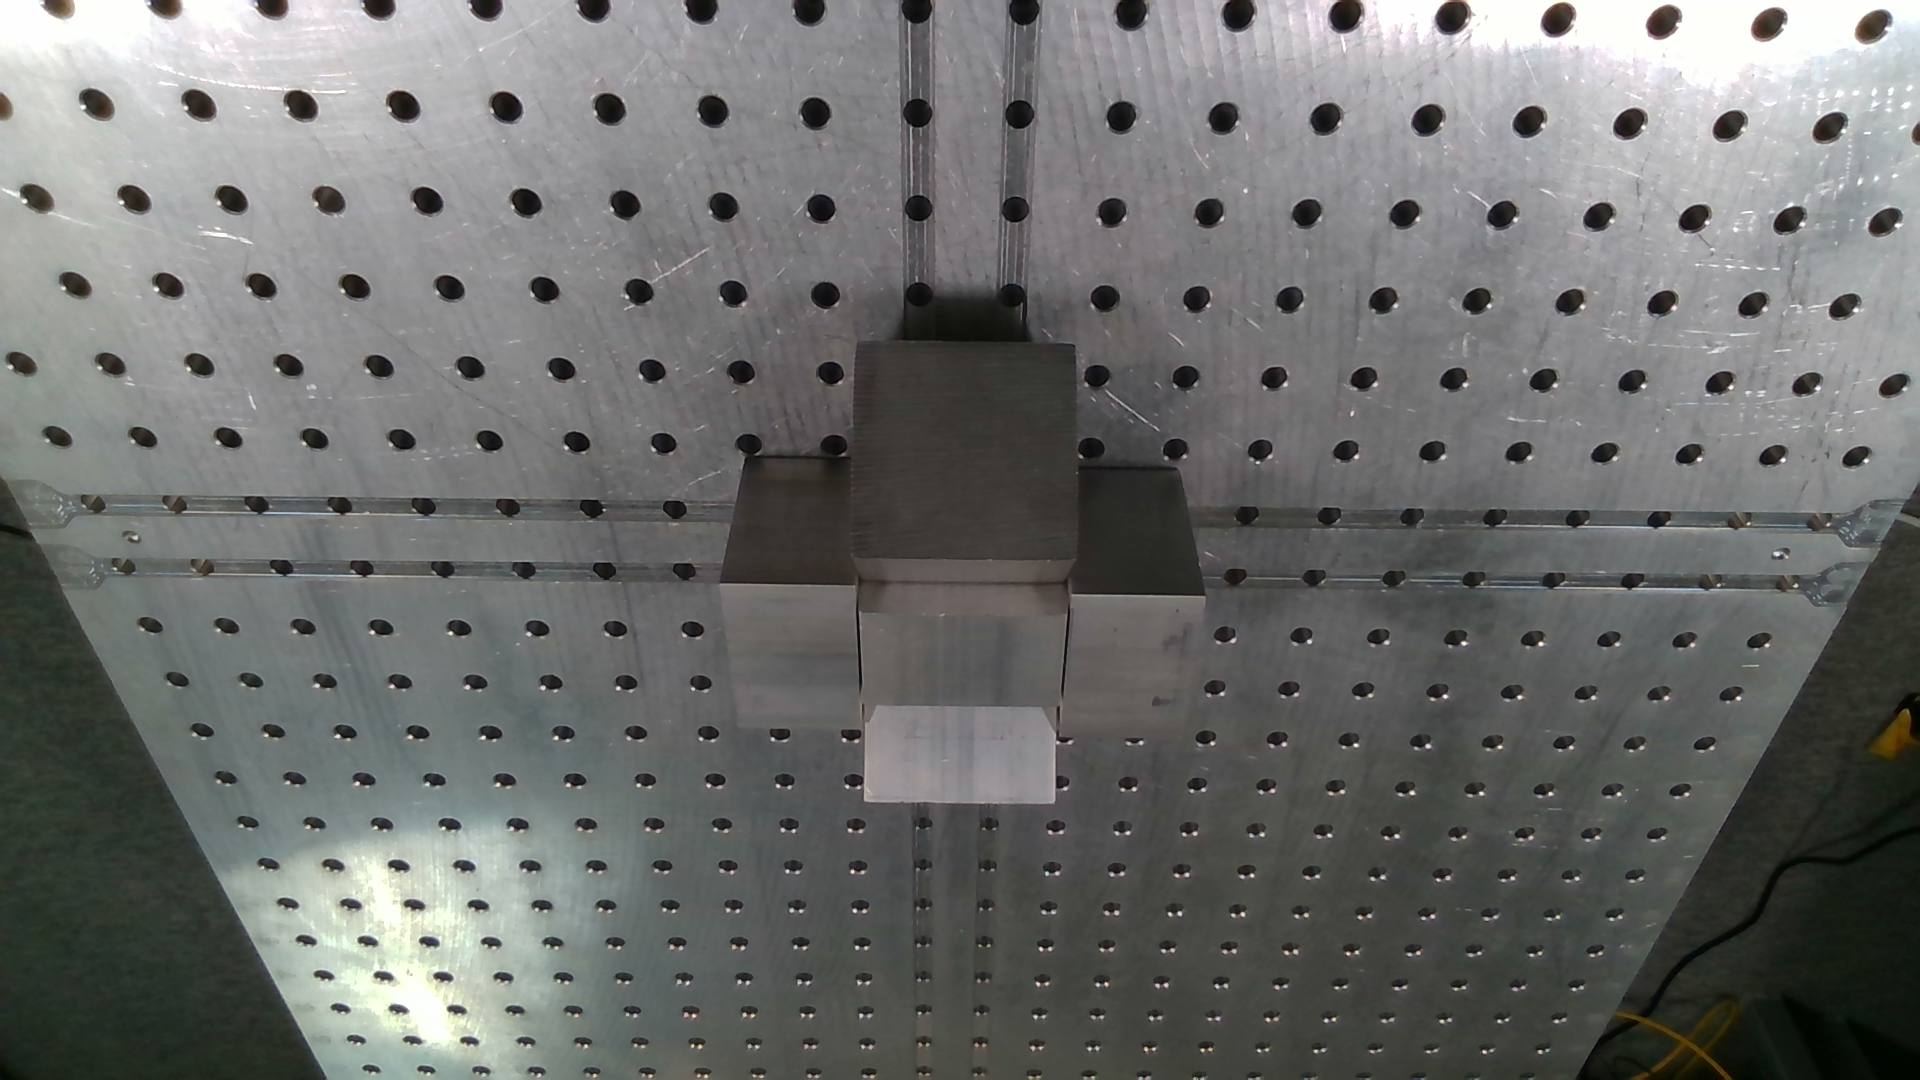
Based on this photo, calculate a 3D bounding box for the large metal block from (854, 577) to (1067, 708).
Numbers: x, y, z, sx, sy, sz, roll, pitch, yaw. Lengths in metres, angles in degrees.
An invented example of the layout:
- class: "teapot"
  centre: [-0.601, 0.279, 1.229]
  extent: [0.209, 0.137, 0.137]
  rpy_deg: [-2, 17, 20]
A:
- class: "large metal block"
  centre: [0.000, 0.022, 0.563]
  extent: [0.080, 0.080, 0.050]
  rpy_deg: [1, 130, -1]

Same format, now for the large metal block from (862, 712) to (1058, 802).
- class: "large metal block"
  centre: [-0.001, 0.081, 0.603]
  extent: [0.080, 0.080, 0.050]
  rpy_deg: [0, 92, -1]

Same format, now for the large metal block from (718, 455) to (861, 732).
- class: "large metal block"
  centre: [-0.065, 0.021, 0.563]
  extent: [0.050, 0.080, 0.080]
  rpy_deg: [1, 130, -1]

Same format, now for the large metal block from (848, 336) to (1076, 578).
- class: "large metal block"
  centre: [0.001, -0.029, 0.514]
  extent: [0.080, 0.080, 0.050]
  rpy_deg: [1, 169, 0]

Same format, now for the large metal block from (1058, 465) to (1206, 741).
- class: "large metal block"
  centre: [0.066, 0.026, 0.566]
  extent: [0.050, 0.080, 0.080]
  rpy_deg: [1, 130, -1]
